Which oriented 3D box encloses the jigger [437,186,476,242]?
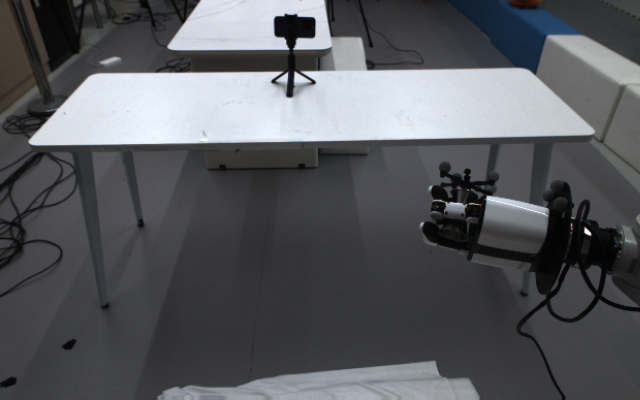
[{"bbox_3d":[0.206,0.021,0.708,0.043,0.043,0.071,13,69,15],"label":"jigger"}]
